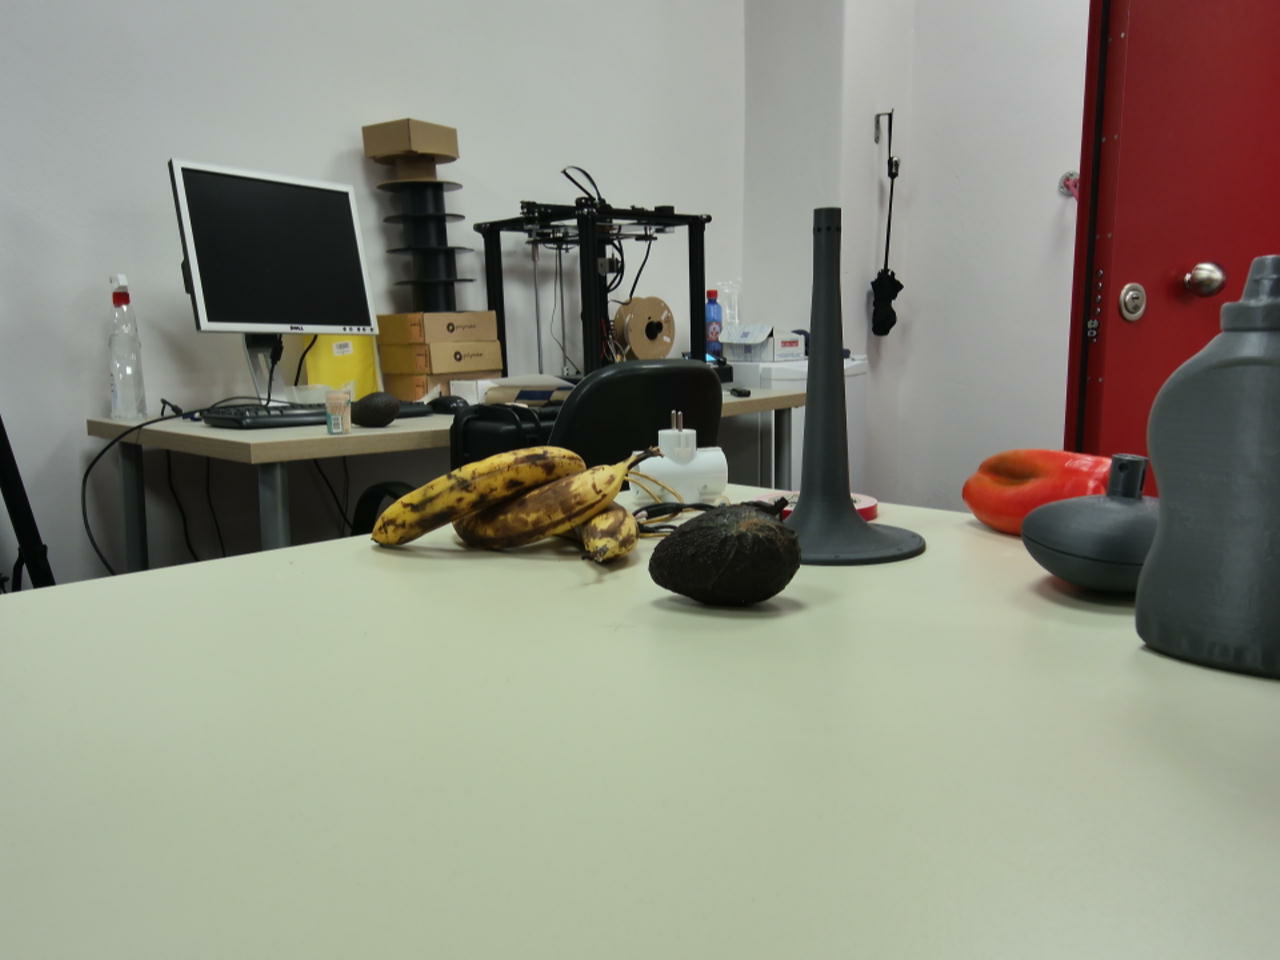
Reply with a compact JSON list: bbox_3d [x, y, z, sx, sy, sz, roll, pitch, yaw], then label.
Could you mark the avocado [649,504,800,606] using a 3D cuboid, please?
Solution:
[{"bbox_3d":[0.053,0.045,0.619,0.092,0.062,0.062,4,7,23],"label":"avocado"}]
